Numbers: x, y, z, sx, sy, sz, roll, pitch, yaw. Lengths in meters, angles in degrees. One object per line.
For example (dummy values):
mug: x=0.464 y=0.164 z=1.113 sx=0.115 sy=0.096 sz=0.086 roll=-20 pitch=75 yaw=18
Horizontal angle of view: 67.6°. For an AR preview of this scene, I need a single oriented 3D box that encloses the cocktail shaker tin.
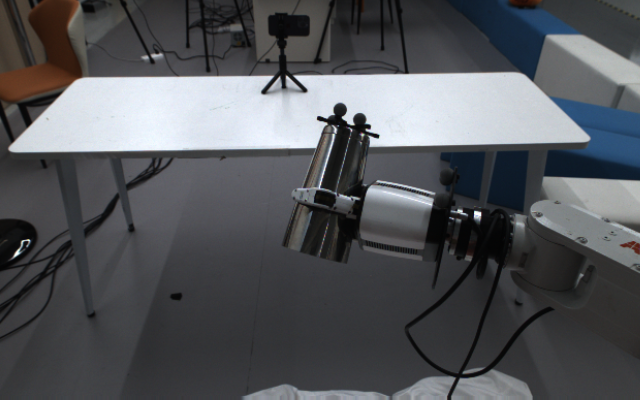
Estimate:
cocktail shaker tin: x=0.015 y=-0.009 z=0.651 sx=0.093 sy=0.170 sz=0.093 roll=15 pitch=-4 yaw=1
